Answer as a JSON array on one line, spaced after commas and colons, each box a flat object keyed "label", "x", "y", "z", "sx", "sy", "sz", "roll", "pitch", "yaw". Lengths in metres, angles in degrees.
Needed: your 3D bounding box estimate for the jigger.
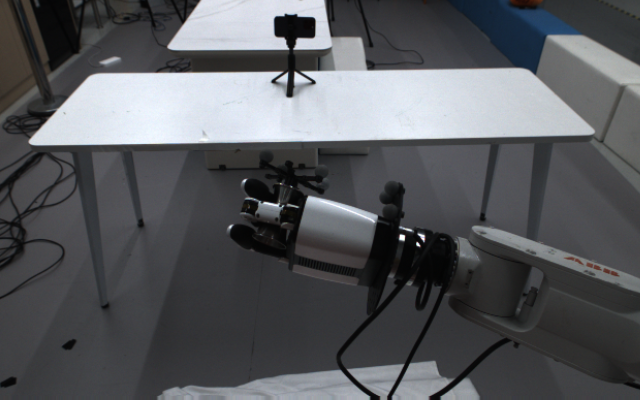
[{"label": "jigger", "x": -0.045, "y": 0.019, "z": 0.575, "sx": 0.043, "sy": 0.043, "sz": 0.071, "roll": 12, "pitch": 71, "yaw": 14}]
